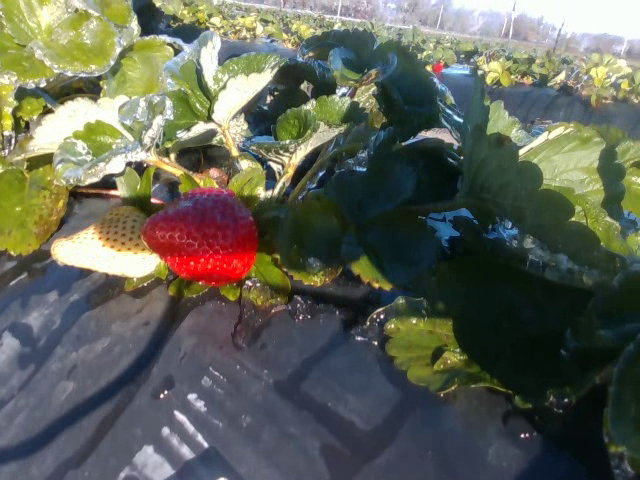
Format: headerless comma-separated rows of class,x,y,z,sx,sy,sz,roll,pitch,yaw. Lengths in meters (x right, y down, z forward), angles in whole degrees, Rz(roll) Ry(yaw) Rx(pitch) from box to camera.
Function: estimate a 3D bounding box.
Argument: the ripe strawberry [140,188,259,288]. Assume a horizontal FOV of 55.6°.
ripe strawberry,-0.053,0.002,0.242,0.042,0.046,0.061,15,8,34
